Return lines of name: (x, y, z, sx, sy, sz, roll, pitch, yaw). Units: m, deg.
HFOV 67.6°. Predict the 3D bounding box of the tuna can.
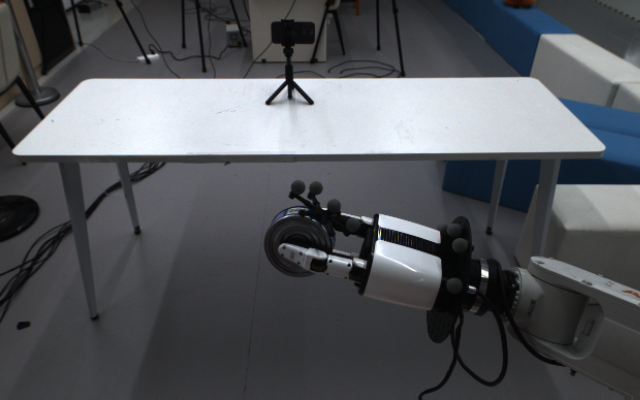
tuna can: (-0.021, 0.058, 0.596, 0.085, 0.085, 0.034, 7, 19, 6)
